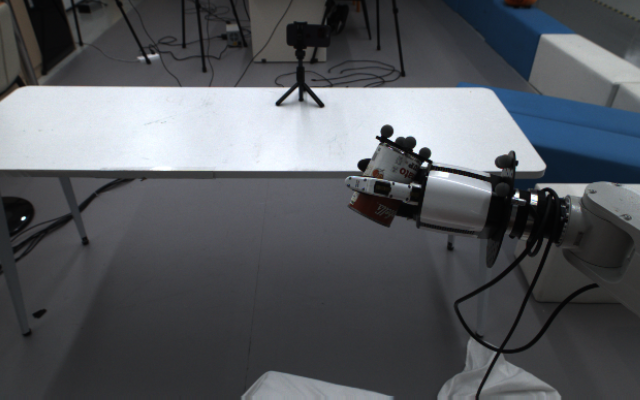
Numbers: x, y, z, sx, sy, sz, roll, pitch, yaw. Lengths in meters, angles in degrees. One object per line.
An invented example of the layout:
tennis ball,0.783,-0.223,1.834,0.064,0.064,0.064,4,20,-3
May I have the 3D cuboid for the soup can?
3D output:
soup can,0.092,-0.021,0.679,0.067,0.101,0.067,26,5,-3
